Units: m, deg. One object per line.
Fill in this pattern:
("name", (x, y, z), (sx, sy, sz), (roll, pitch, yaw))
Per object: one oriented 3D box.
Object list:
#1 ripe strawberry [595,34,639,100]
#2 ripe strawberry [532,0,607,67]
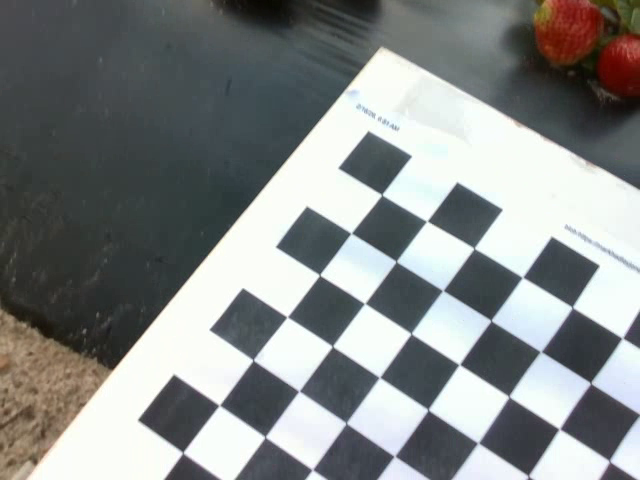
("ripe strawberry", (0.165, -0.094, 0.368), (0.043, 0.041, 0.049), (30, 16, 10))
("ripe strawberry", (0.133, -0.117, 0.388), (0.053, 0.047, 0.038), (19, -10, -26))
